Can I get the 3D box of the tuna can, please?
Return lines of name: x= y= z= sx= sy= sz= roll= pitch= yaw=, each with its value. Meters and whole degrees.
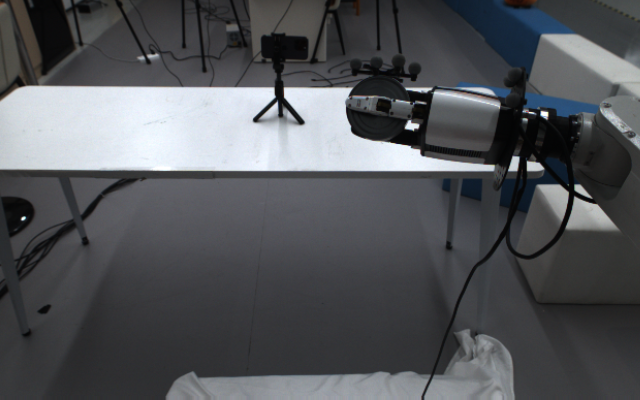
tuna can: x=0.080 y=-0.125 z=0.655 sx=0.085 sy=0.085 sz=0.034 roll=11 pitch=1 yaw=12
